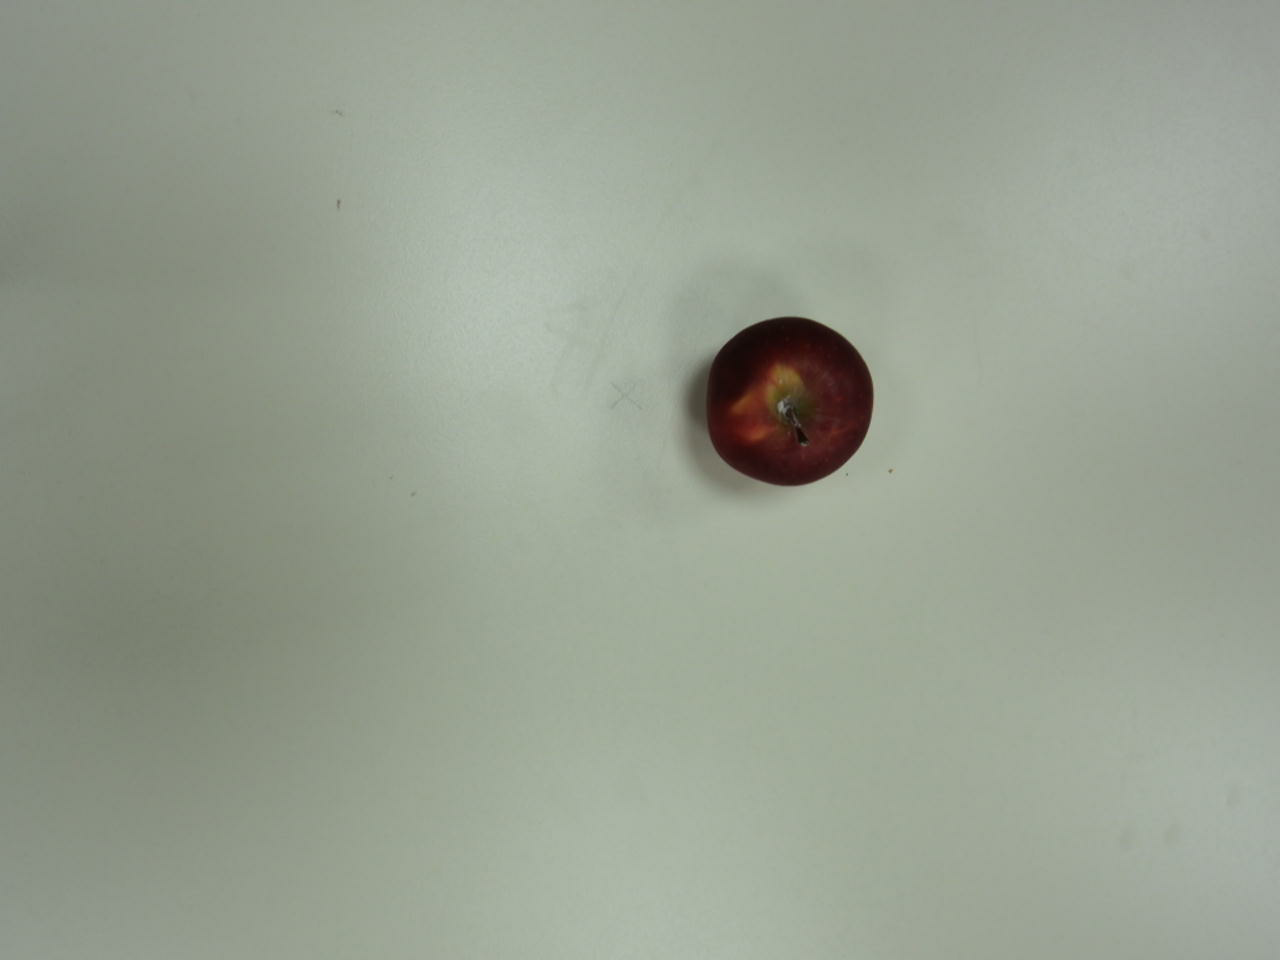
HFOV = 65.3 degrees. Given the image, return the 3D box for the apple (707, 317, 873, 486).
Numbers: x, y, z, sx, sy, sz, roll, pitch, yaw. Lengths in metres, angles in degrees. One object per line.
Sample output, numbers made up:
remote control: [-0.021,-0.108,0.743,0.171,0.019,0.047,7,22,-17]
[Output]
apple: [0.061,-0.032,0.416,0.070,0.072,0.070,0,90,-12]
